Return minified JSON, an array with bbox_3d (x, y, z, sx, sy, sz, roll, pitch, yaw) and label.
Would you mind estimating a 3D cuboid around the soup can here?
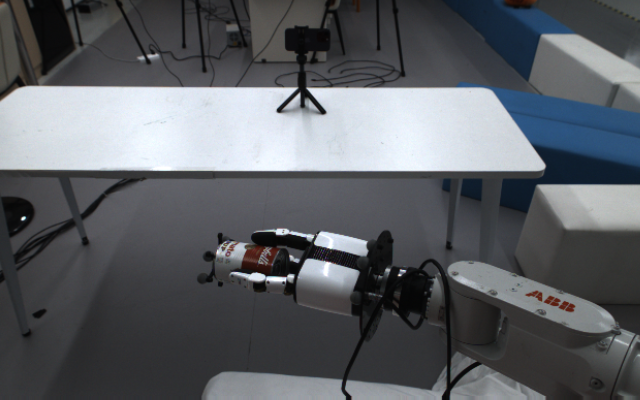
[{"bbox_3d":[-0.104,0.103,0.749,0.101,0.067,0.067,6,34,18],"label":"soup can"}]
